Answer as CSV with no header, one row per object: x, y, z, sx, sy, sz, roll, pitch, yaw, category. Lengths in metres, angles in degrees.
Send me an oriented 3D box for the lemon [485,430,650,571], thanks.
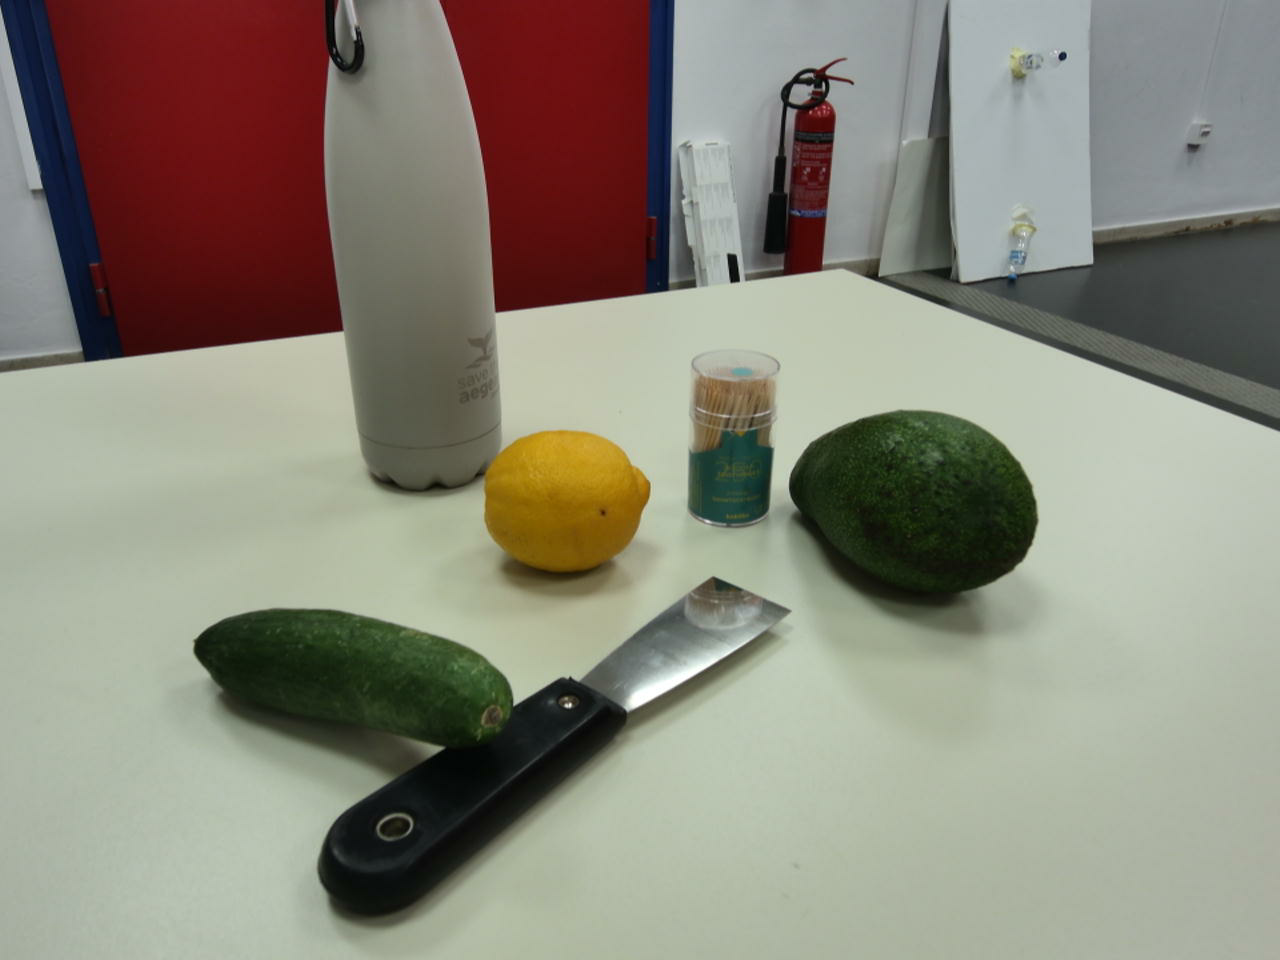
-0.032,0.009,0.421,0.067,0.059,0.060,8,25,14,lemon
